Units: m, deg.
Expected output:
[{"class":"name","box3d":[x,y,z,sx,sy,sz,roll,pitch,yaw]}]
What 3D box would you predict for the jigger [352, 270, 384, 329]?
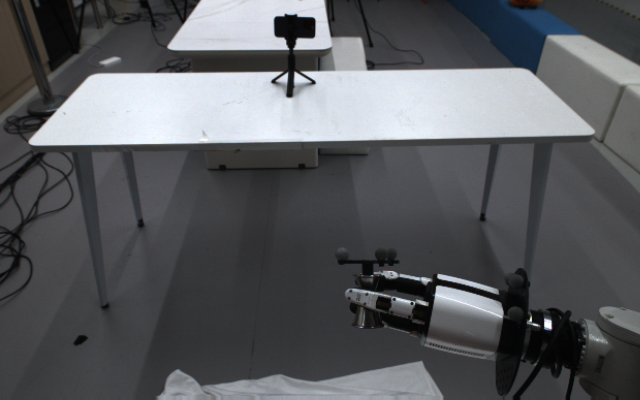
[{"class":"jigger","box3d":[0.063,0.133,0.647,0.043,0.071,0.043,1,-5,0]}]
